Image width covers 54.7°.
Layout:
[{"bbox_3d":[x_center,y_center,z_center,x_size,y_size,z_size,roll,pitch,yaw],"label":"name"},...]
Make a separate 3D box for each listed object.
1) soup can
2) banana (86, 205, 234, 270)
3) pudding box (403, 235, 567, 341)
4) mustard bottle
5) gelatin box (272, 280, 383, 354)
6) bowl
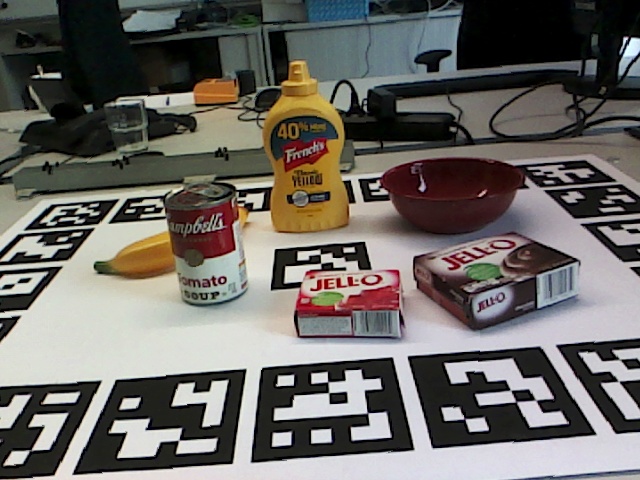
[{"bbox_3d":[-0.127,0.000,0.596,0.068,0.102,0.068,-2,22,0],"label":"soup can"},{"bbox_3d":[-0.167,-0.005,0.716,0.075,0.039,0.196,5,23,44],"label":"banana"},{"bbox_3d":[0.144,0.040,0.555,0.113,0.038,0.090,-14,31,-20],"label":"pudding box"},{"bbox_3d":[-0.026,-0.111,0.715,0.096,0.191,0.058,-4,21,1],"label":"mustard bottle"},{"bbox_3d":[0.009,0.065,0.535,0.089,0.030,0.073,-2,27,8],"label":"gelatin box"},{"bbox_3d":[0.149,-0.041,0.726,0.162,0.055,0.162,-5,23,2],"label":"bowl"}]
